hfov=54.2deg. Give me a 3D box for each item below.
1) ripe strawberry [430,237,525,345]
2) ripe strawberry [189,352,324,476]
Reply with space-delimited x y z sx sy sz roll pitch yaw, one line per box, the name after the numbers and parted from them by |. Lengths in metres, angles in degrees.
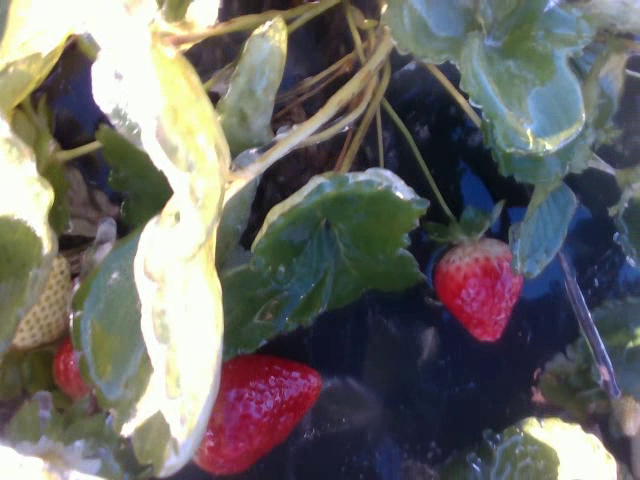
0.064 0.020 0.232 0.039 0.047 0.040 -22 24 -27 | ripe strawberry
-0.018 0.062 0.211 0.056 0.044 0.040 -11 29 -33 | ripe strawberry
